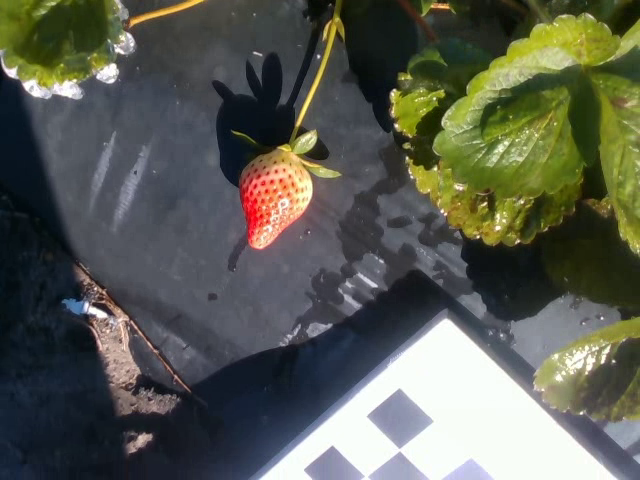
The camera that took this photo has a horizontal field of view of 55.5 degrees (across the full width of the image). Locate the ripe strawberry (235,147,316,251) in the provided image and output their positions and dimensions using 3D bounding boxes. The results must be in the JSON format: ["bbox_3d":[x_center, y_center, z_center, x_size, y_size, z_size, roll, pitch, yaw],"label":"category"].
[{"bbox_3d":[-0.021,-0.017,0.278,0.039,0.053,0.040,24,-2,7],"label":"ripe strawberry"}]
